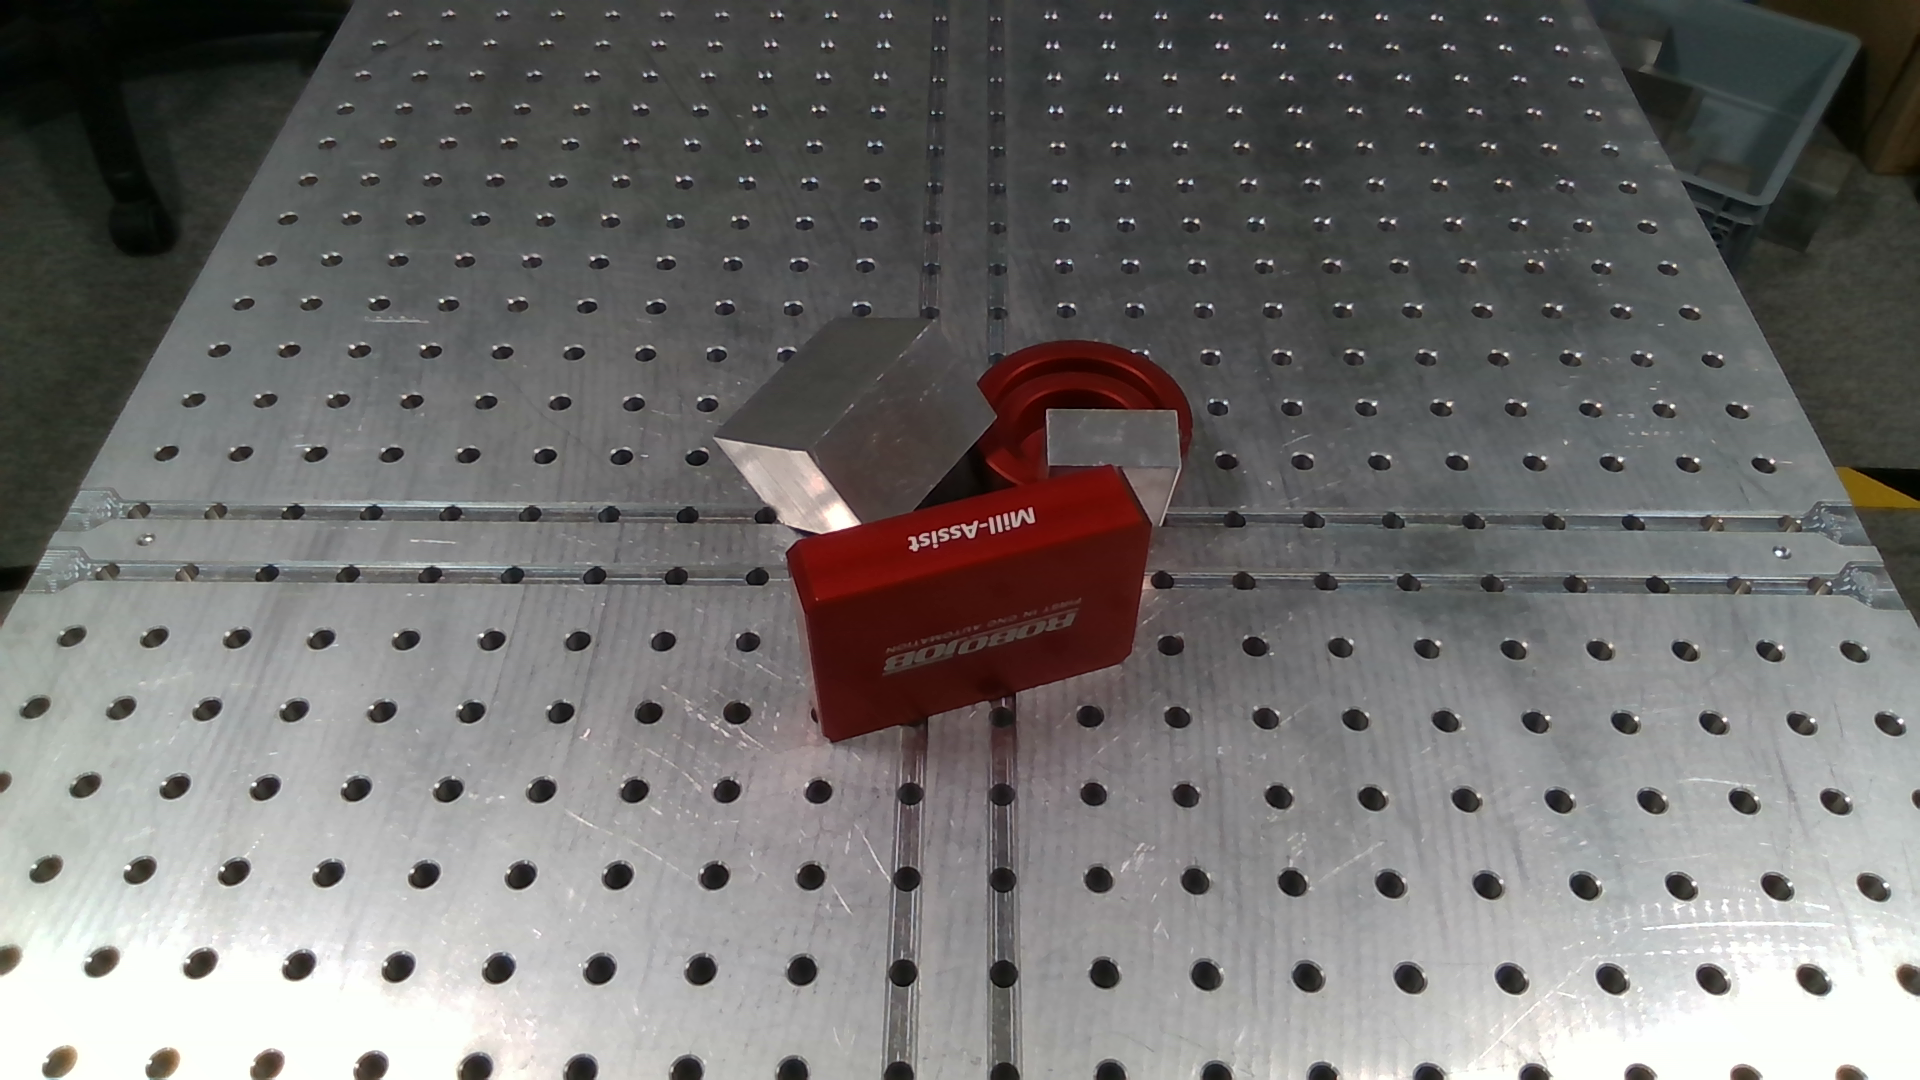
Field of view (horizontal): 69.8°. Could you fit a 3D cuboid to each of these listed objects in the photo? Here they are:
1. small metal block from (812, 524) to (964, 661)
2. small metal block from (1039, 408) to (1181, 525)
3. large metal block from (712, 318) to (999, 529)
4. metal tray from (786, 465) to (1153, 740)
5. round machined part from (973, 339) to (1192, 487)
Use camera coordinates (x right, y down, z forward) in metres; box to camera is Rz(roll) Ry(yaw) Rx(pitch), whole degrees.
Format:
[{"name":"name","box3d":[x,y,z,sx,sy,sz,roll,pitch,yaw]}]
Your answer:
[{"name":"small metal block","box3d":[-0.028,0.021,0.566,0.050,0.025,0.050,6,39,11]},{"name":"small metal block","box3d":[0.058,-0.028,0.544,0.050,0.050,0.025,1,64,-1]},{"name":"large metal block","box3d":[-0.045,-0.049,0.585,0.080,0.050,0.080,-49,33,-21]},{"name":"metal tray","box3d":[0.004,0.025,0.527,0.130,0.090,0.030,-14,51,-11]},{"name":"round machined part","box3d":[0.052,-0.042,0.613,0.098,0.042,0.098,0,50,0]}]
